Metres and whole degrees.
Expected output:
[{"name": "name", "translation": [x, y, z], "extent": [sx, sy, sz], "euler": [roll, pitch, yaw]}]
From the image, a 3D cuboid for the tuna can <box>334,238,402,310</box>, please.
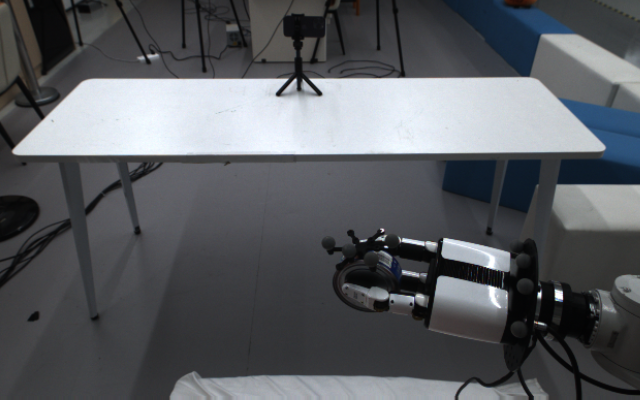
[{"name": "tuna can", "translation": [0.064, 0.100, 0.617], "extent": [0.085, 0.085, 0.034], "euler": [10, 33, 11]}]
